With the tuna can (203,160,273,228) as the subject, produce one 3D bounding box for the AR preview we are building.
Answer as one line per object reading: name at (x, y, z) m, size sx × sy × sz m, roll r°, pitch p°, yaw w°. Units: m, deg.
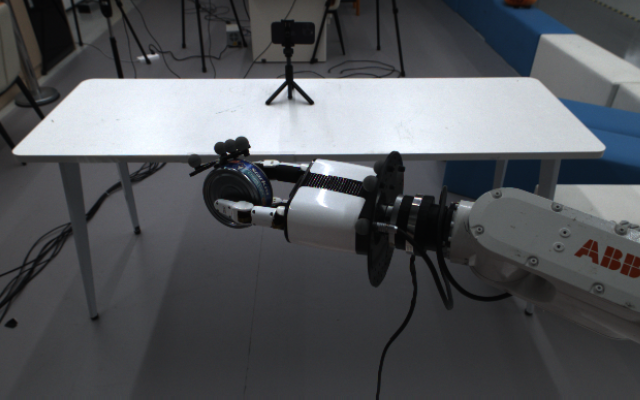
tuna can at (-0.102, -0.001, 0.615) m, size 0.085 × 0.085 × 0.034 m, roll 15°, pitch 30°, yaw 17°
